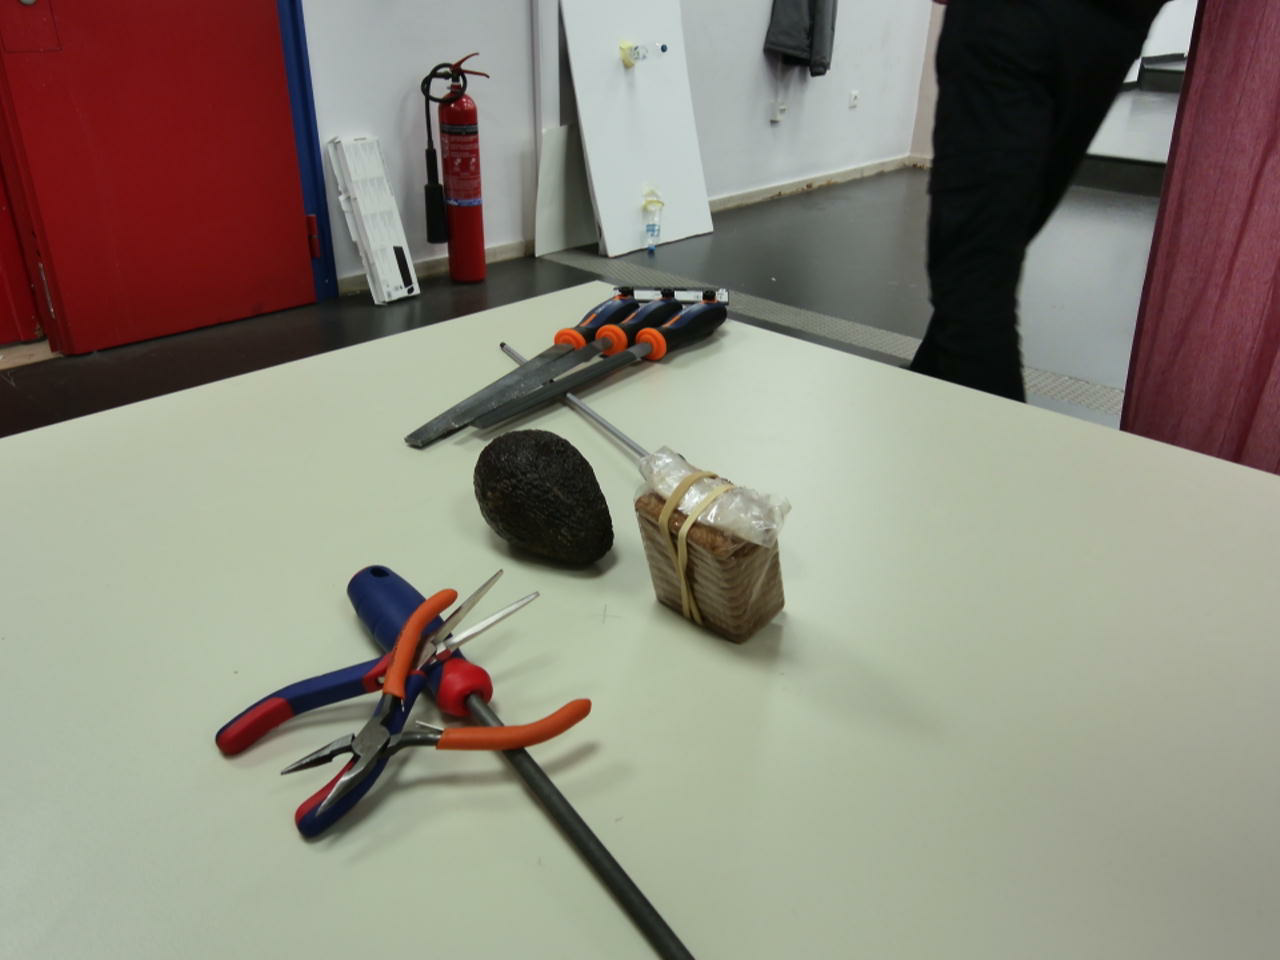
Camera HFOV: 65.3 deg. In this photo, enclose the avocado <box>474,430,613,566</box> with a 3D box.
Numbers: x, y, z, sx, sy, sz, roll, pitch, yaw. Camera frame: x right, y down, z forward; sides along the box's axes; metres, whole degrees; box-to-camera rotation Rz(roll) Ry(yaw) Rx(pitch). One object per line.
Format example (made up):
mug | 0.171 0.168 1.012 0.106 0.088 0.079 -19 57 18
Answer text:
avocado | -0.057 0.008 0.577 0.070 0.069 0.090 -9 27 -21
